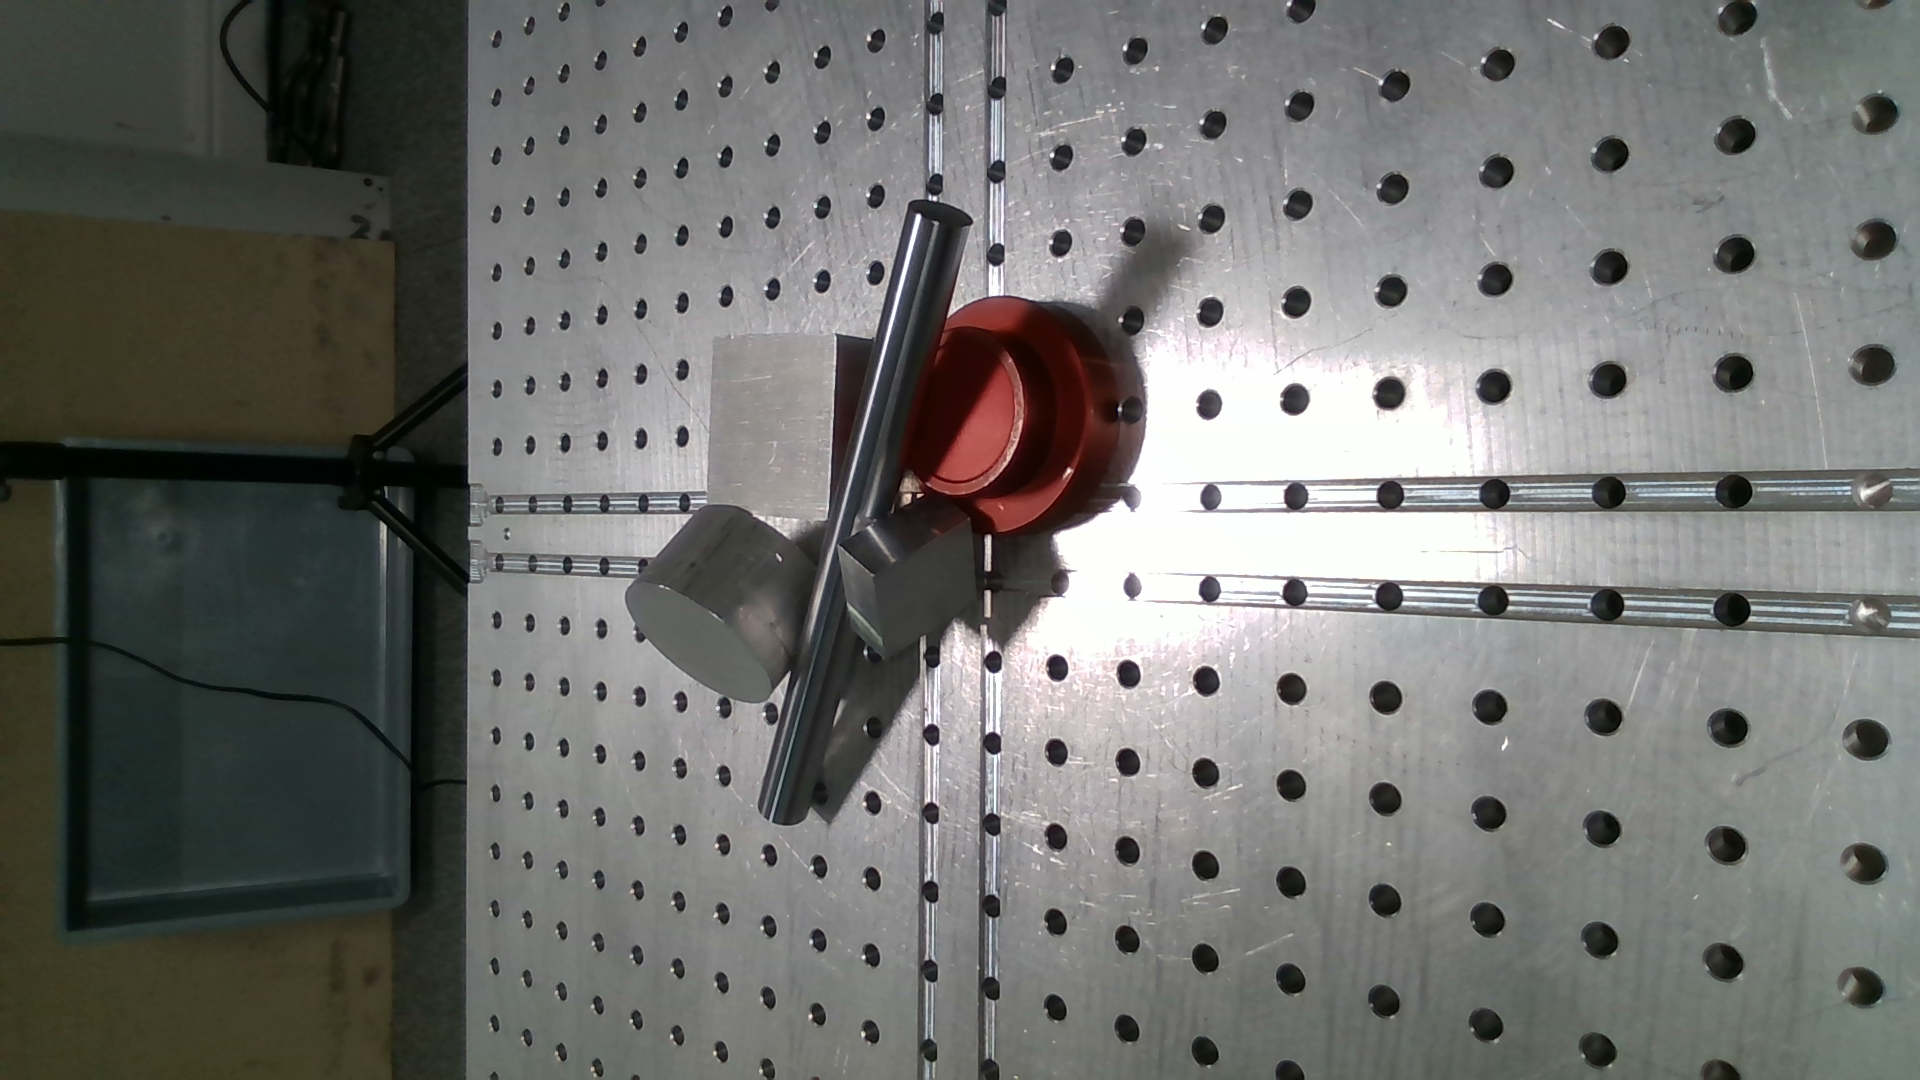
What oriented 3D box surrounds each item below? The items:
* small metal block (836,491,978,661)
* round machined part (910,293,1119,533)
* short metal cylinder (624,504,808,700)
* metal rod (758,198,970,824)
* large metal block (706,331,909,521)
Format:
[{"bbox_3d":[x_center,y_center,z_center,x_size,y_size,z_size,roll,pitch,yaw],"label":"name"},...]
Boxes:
[{"bbox_3d":[-0.021,0.014,0.574,0.025,0.050,0.050,39,149,36],"label":"small metal block"},{"bbox_3d":[0.013,-0.052,0.563,0.098,0.042,0.098,0,91,40],"label":"round machined part"},{"bbox_3d":[-0.106,0.030,0.630,0.080,0.050,0.080,25,149,17],"label":"short metal cylinder"},{"bbox_3d":[-0.046,0.003,0.582,0.025,0.025,0.301,39,127,33],"label":"metal rod"},{"bbox_3d":[-0.068,-0.051,0.623,0.080,0.050,0.080,6,94,40],"label":"large metal block"}]
